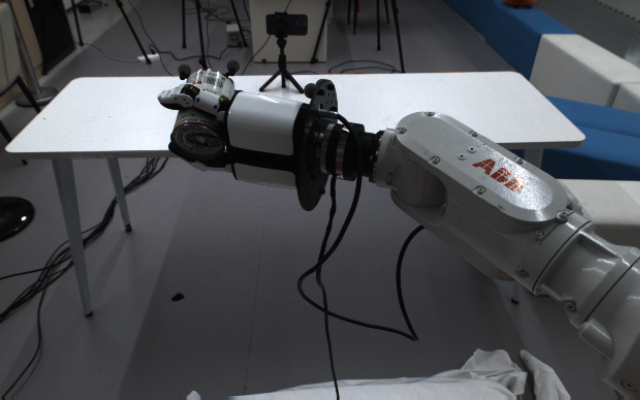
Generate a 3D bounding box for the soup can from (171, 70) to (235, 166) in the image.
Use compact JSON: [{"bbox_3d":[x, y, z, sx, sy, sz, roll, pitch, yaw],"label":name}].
[{"bbox_3d":[-0.151,-0.112,0.629,0.067,0.067,0.101,3,57,1],"label":"soup can"}]
